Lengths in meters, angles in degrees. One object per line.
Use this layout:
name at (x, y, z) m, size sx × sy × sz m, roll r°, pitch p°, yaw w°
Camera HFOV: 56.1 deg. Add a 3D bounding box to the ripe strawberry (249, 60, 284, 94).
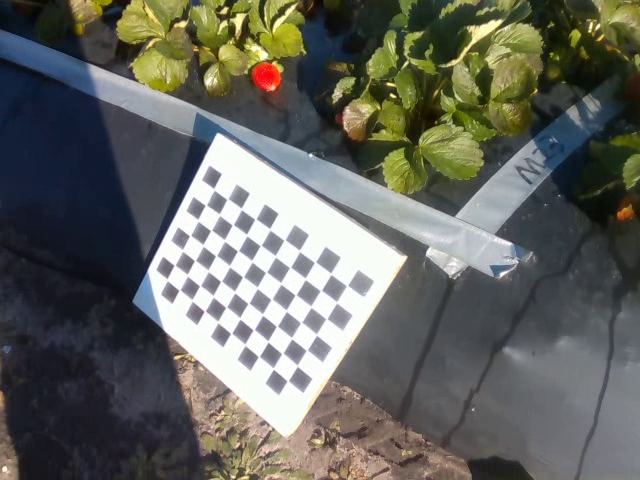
ripe strawberry at (-0.073, -0.229, 0.836) m, size 0.045 × 0.059 × 0.042 m, roll -32°, pitch -31°, yaw 20°
